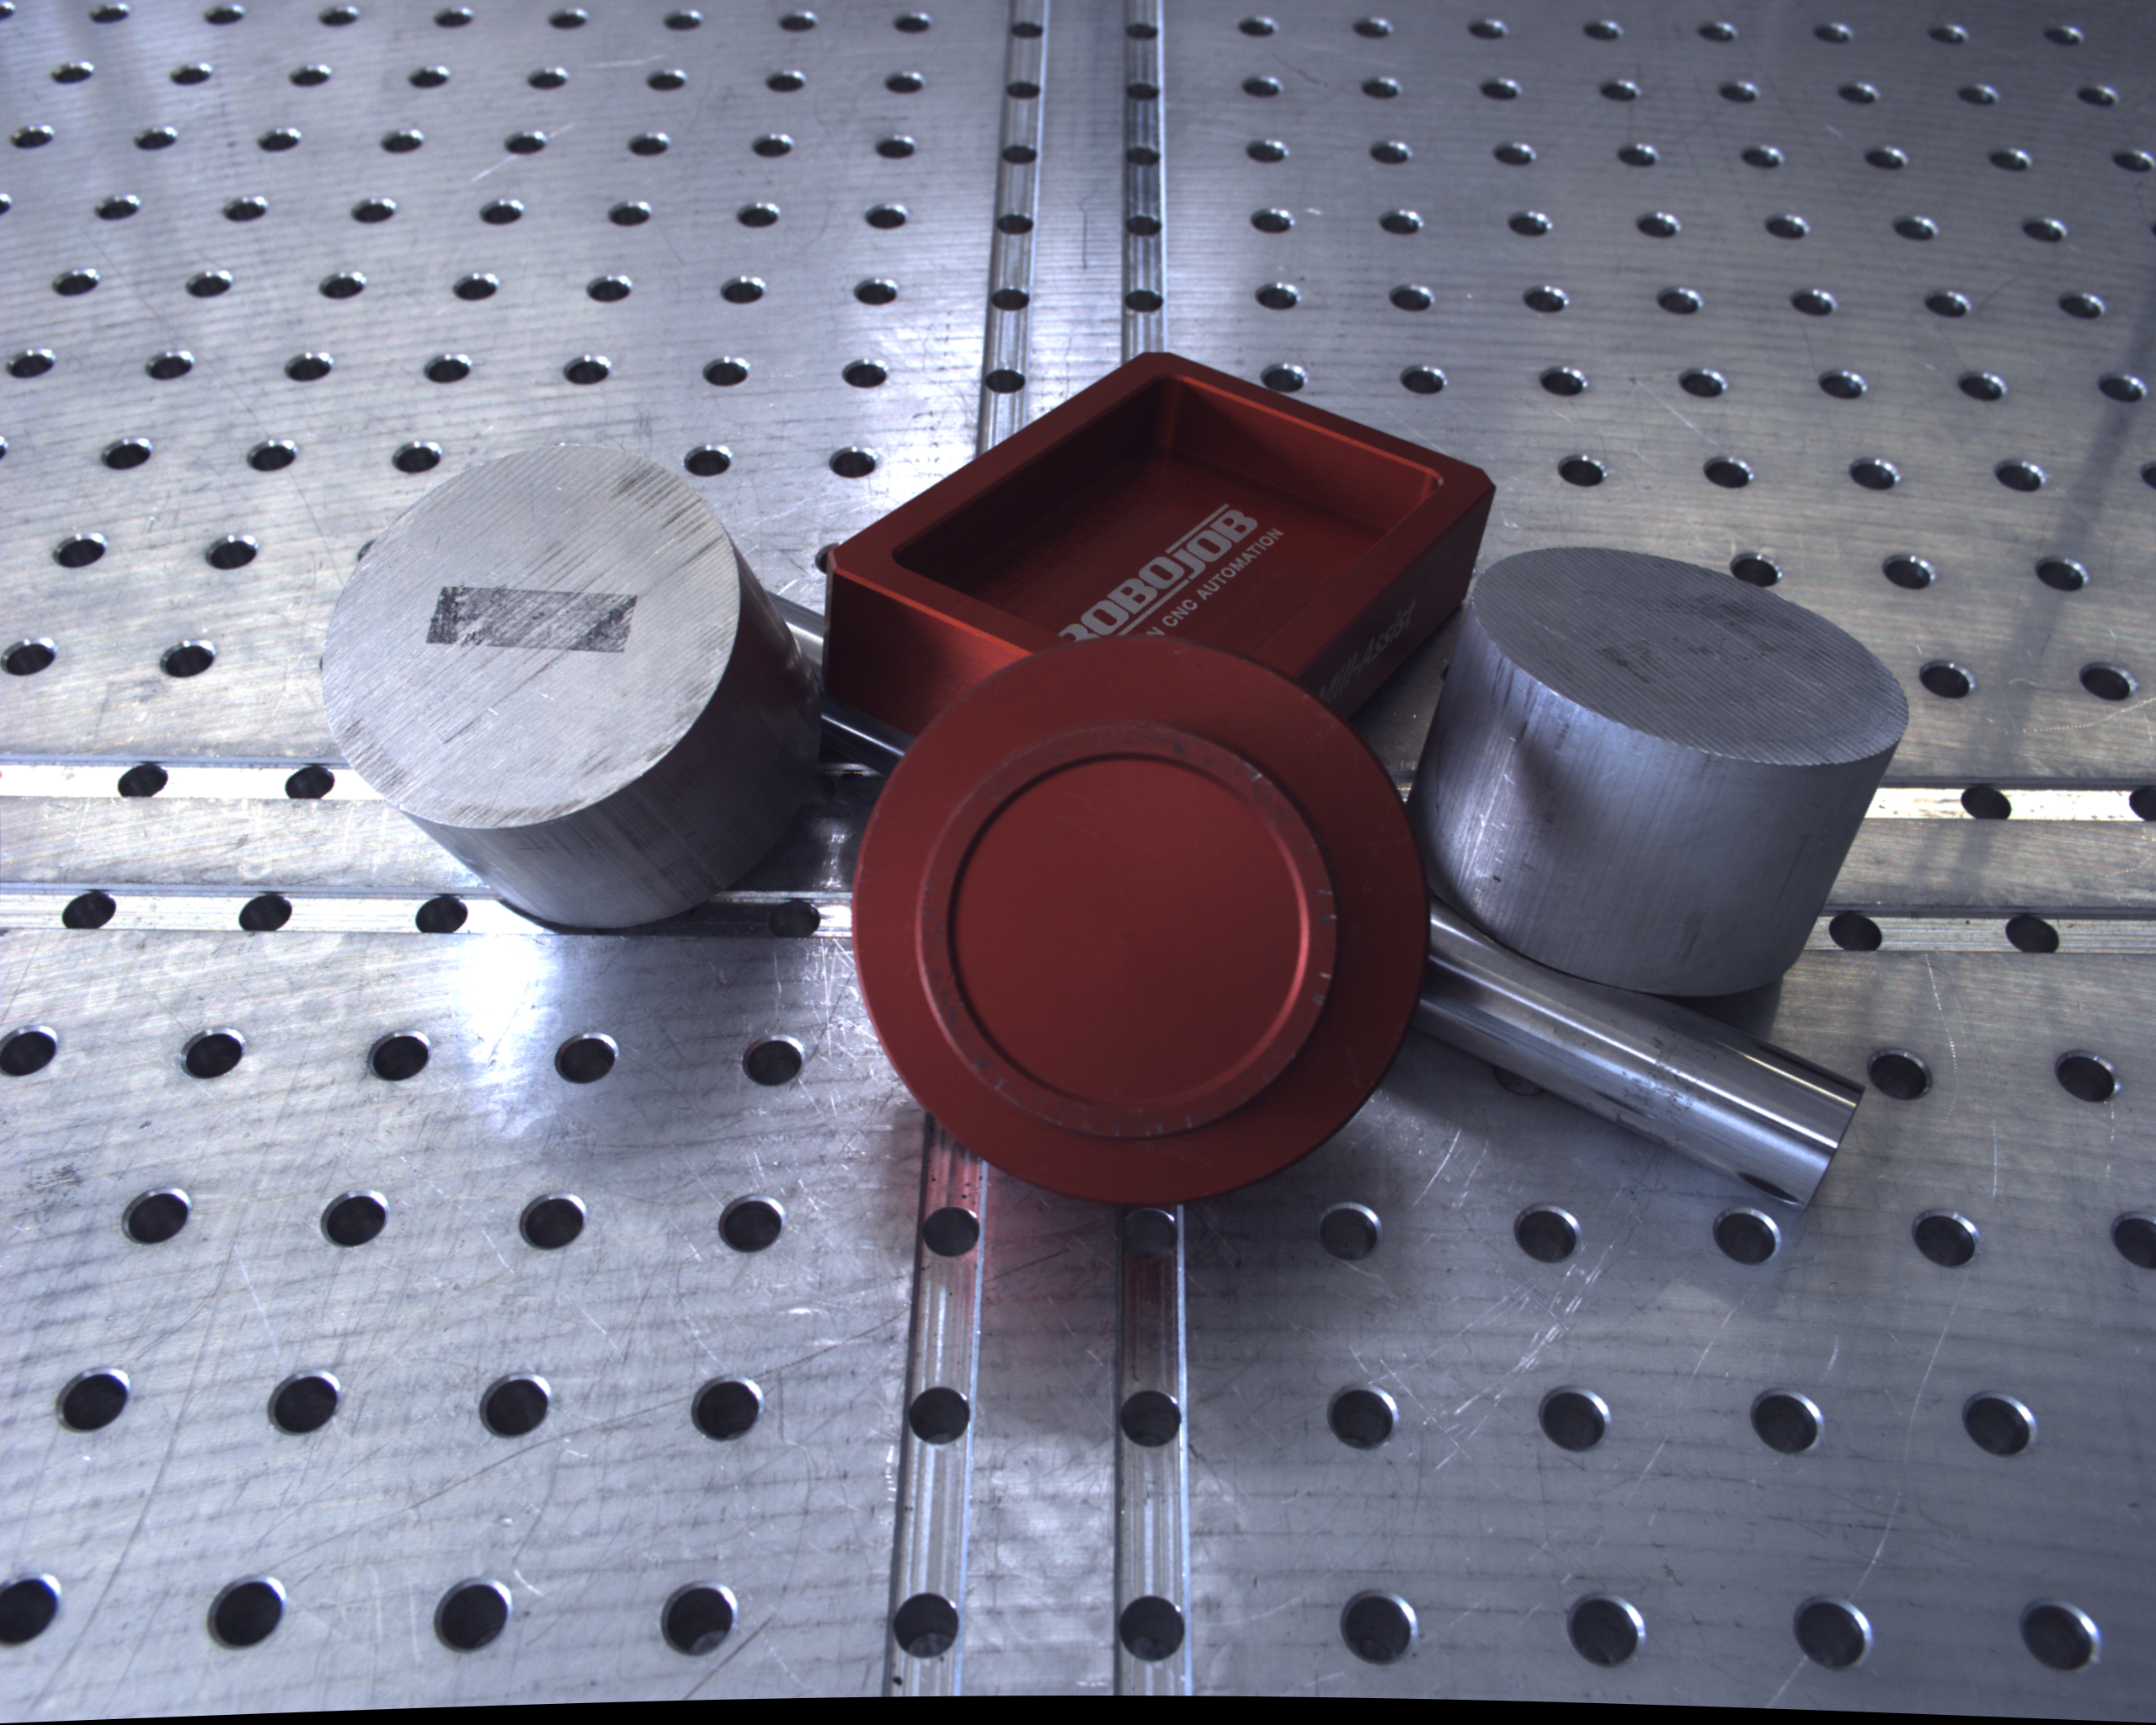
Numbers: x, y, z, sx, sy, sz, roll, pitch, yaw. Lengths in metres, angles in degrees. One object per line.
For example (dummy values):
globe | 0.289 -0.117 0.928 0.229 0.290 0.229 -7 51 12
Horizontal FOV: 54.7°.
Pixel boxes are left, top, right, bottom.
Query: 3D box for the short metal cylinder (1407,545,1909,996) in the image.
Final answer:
short metal cylinder | 0.106 -0.019 0.392 0.081 0.050 0.080 9 33 -6

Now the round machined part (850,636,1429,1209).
round machined part | 0.010 0.010 0.353 0.099 0.042 0.097 0 92 5

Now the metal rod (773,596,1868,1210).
metal rod | 0.005 -0.010 0.416 0.301 0.025 0.025 25 55 20

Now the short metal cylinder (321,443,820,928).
short metal cylinder | -0.096 -0.033 0.403 0.080 0.050 0.080 -4 66 9

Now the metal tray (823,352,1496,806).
metal tray | 0.020 -0.060 0.436 0.090 0.030 0.131 26 41 20
